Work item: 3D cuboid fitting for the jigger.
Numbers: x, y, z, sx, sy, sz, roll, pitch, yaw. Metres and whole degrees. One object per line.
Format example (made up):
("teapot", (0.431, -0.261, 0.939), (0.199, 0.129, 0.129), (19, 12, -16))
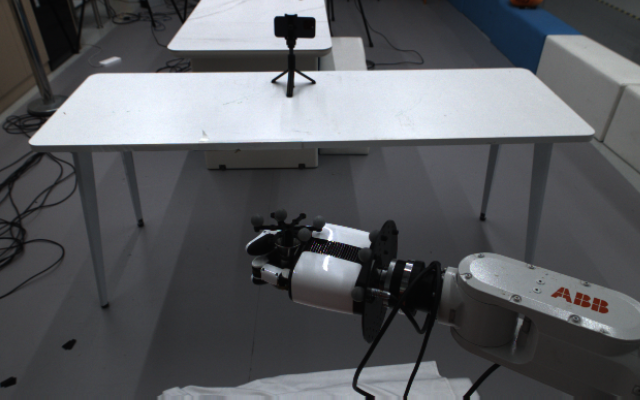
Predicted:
("jigger", (-0.041, 0.082, 0.664), (0.043, 0.071, 0.043), (3, 25, -1))
